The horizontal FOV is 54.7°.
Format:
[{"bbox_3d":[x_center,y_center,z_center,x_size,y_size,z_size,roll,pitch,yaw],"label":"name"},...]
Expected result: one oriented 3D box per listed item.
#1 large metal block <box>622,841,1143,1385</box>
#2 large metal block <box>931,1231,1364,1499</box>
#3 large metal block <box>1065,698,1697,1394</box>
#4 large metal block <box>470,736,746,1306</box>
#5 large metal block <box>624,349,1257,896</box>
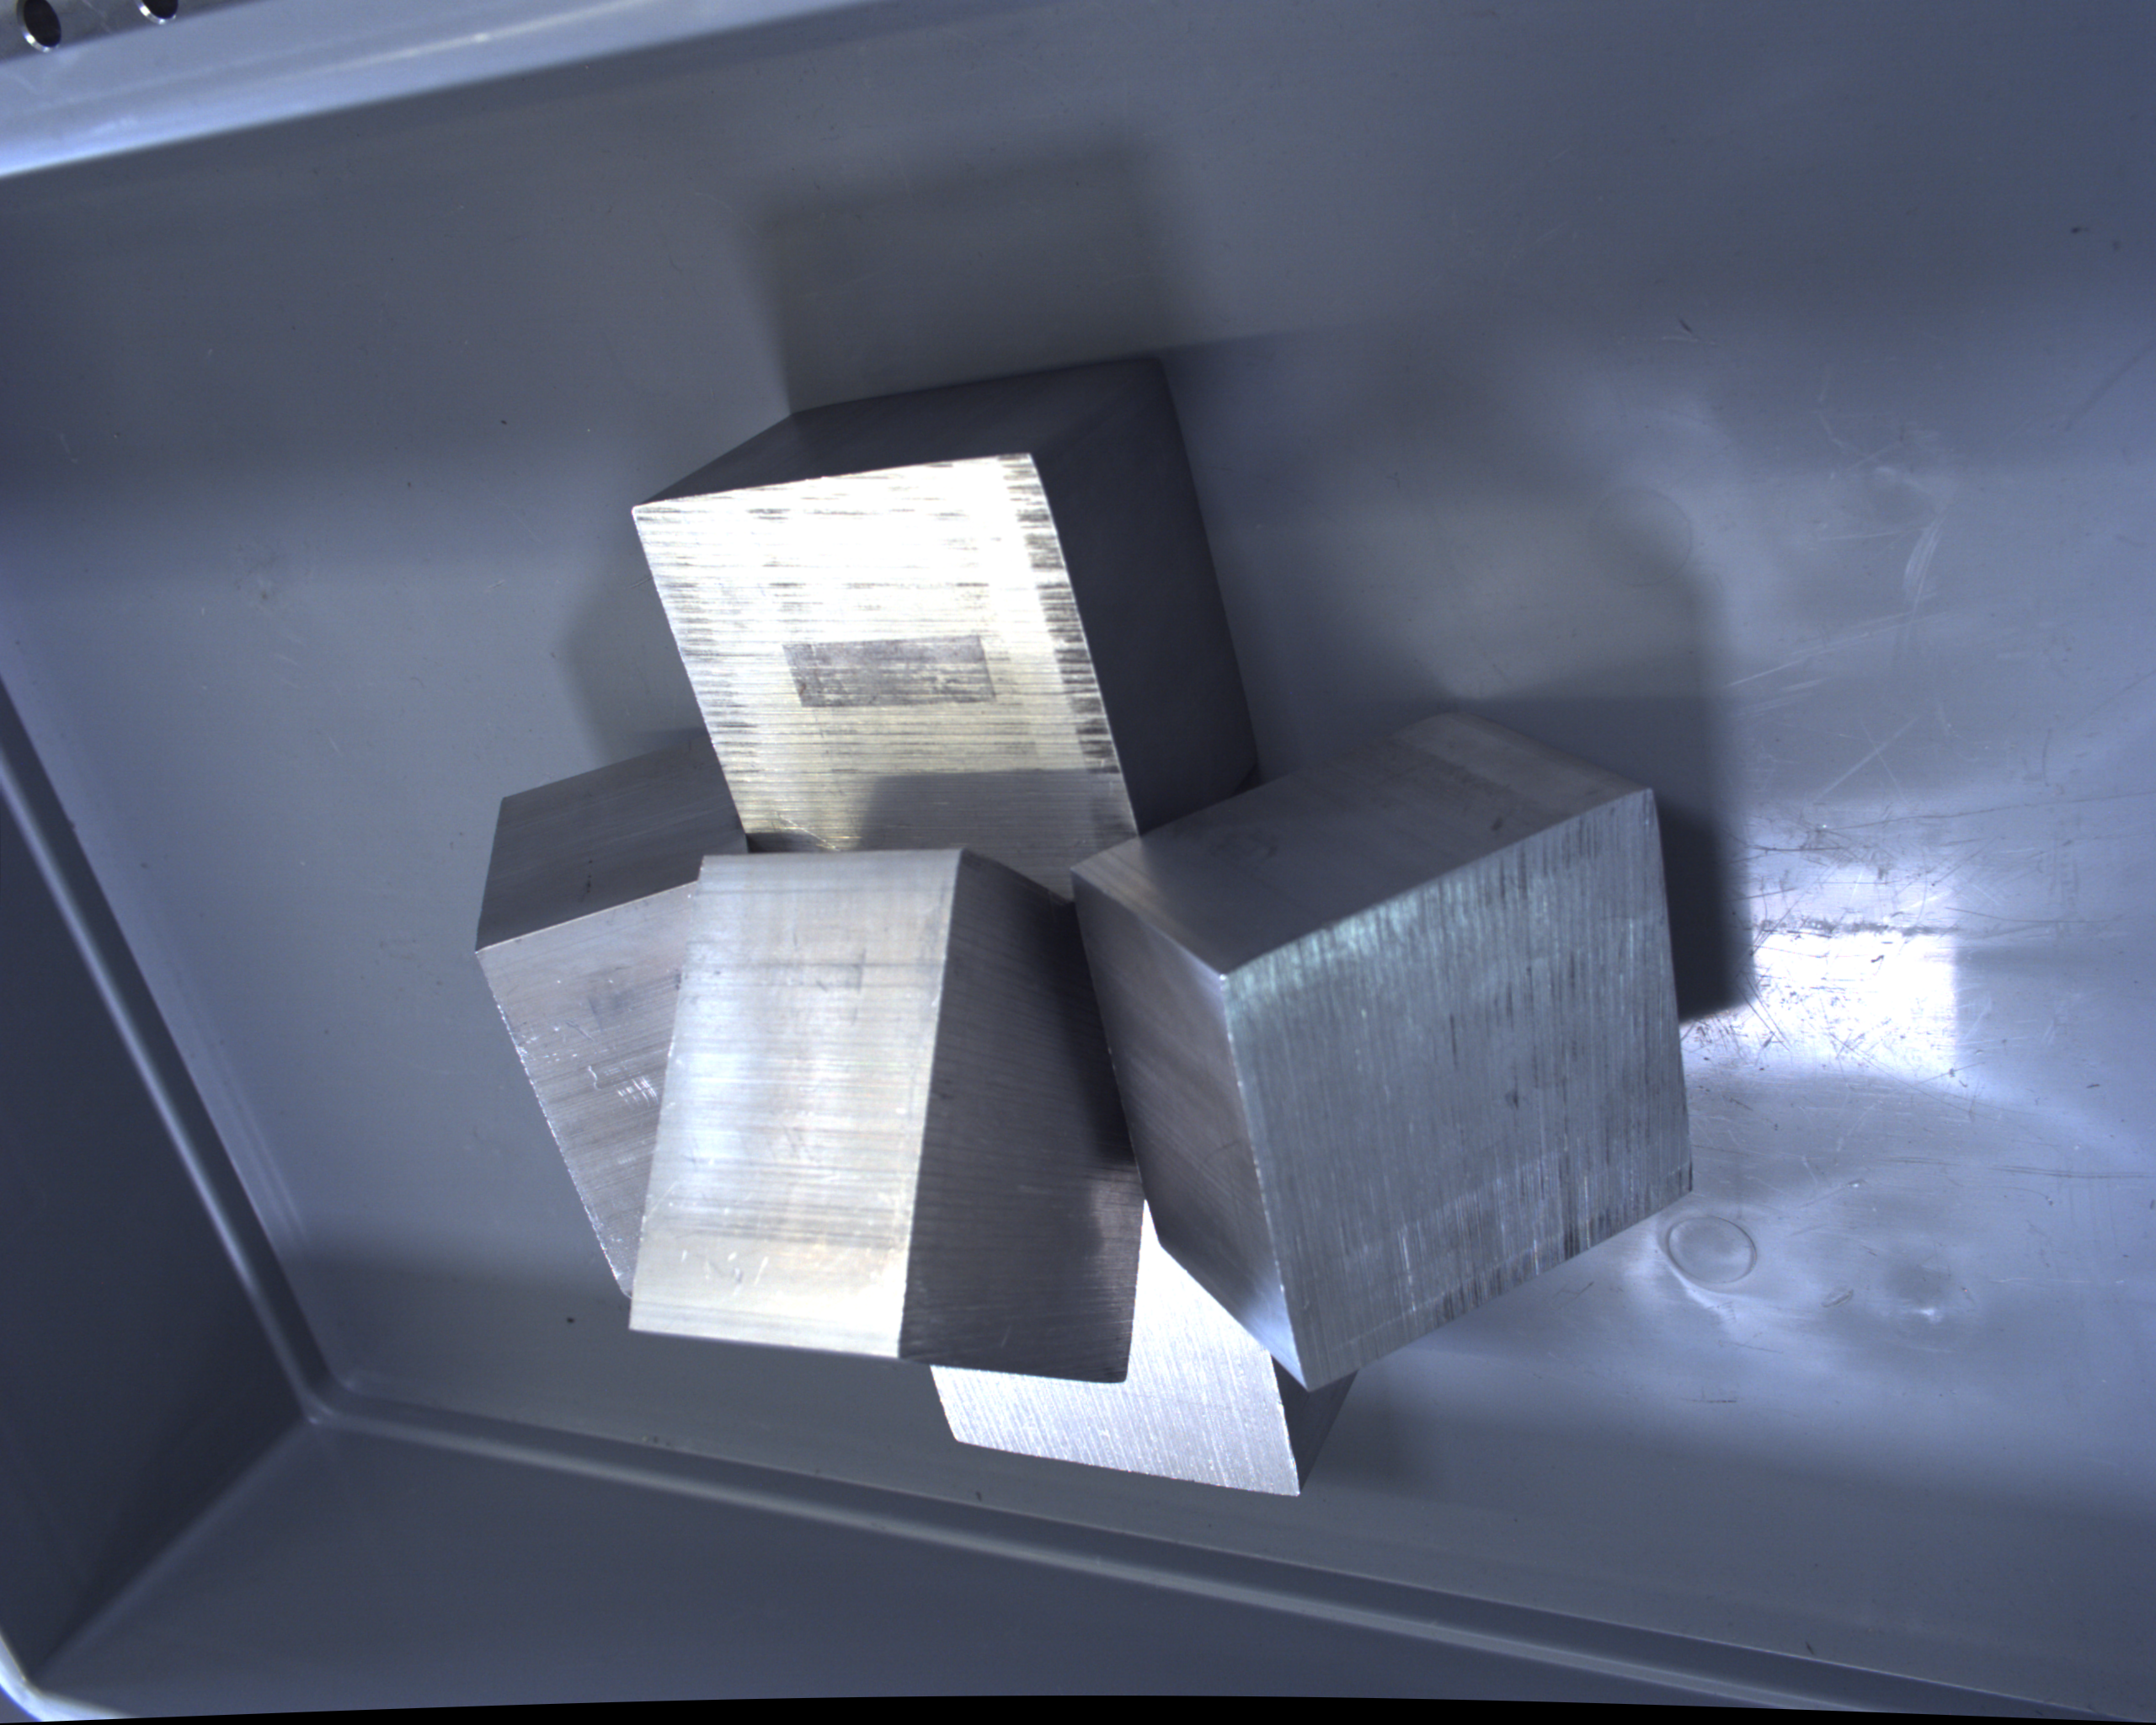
[{"bbox_3d":[-0.027,0.046,0.363,0.050,0.080,0.080,-1,74,27],"label":"large metal block"},{"bbox_3d":[0.011,0.079,0.434,0.080,0.050,0.080,1,119,28],"label":"large metal block"},{"bbox_3d":[0.052,0.028,0.352,0.050,0.081,0.080,36,144,58],"label":"large metal block"},{"bbox_3d":[-0.080,0.028,0.421,0.050,0.080,0.080,-18,115,-4],"label":"large metal block"},{"bbox_3d":[-0.022,-0.041,0.374,0.080,0.050,0.080,-1,118,29],"label":"large metal block"}]
